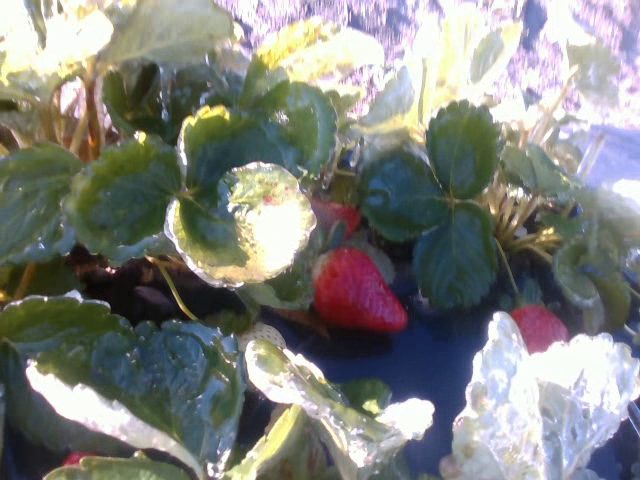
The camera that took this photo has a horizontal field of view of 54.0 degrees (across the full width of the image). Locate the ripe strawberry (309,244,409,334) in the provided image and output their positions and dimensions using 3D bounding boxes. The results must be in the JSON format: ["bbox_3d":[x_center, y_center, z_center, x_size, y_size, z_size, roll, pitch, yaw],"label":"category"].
[{"bbox_3d":[0.024,0.025,0.302,0.044,0.056,0.040,-51,3,-40],"label":"ripe strawberry"}]

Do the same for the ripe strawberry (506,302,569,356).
[{"bbox_3d":[0.113,0.052,0.317,0.039,0.047,0.040,32,-50,-9],"label":"ripe strawberry"}]
